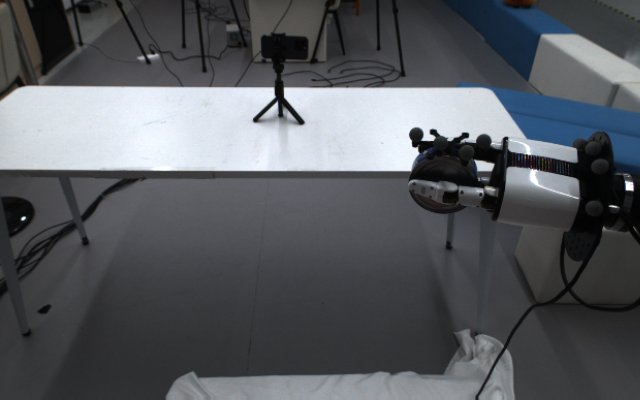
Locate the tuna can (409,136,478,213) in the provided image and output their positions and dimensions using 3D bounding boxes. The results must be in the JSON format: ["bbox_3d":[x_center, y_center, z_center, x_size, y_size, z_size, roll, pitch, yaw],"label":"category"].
[{"bbox_3d":[0.160,-0.030,0.621,0.085,0.085,0.034,10,34,11],"label":"tuna can"}]
